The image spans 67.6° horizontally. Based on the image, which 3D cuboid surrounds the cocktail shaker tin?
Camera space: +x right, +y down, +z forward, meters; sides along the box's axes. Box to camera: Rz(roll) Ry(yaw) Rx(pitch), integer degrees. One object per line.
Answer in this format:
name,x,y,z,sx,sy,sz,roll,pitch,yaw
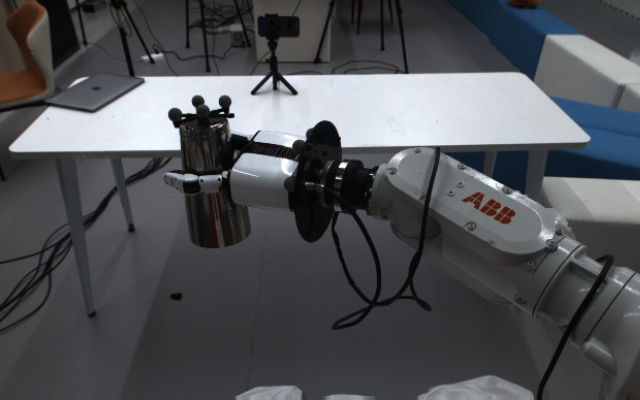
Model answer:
cocktail shaker tin,-0.150,-0.029,0.684,0.093,0.170,0.093,-3,26,1
